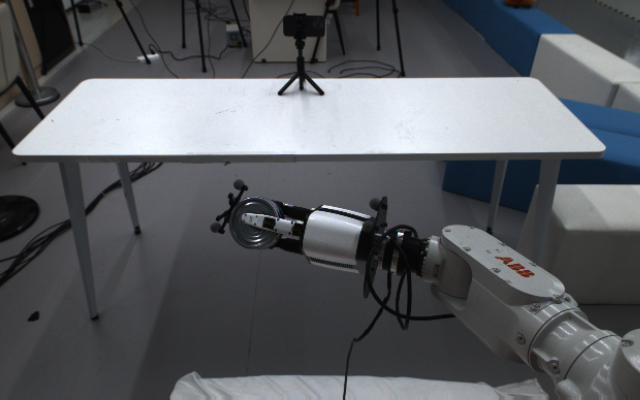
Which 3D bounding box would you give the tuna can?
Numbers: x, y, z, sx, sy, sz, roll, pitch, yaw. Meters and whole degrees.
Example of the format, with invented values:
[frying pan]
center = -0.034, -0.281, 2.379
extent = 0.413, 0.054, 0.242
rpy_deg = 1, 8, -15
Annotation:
[tuna can]
center = -0.099, 0.041, 0.773
extent = 0.085, 0.085, 0.034
rpy_deg = 9, -3, 10
